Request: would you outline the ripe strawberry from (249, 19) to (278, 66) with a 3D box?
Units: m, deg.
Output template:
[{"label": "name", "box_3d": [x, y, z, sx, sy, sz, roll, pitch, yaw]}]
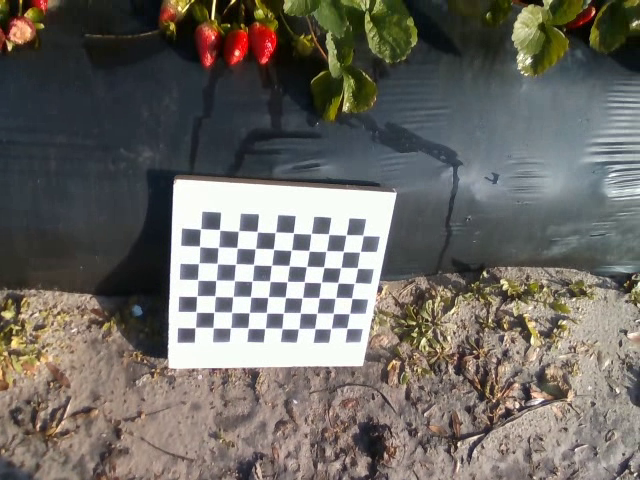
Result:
[{"label": "ripe strawberry", "box_3d": [-0.068, -0.195, 0.633, 0.035, 0.041, 0.034, -2, -29, -8]}]

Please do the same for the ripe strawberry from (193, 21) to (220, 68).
[{"label": "ripe strawberry", "box_3d": [-0.125, -0.197, 0.626, 0.031, 0.046, 0.023, 2, 7, -10]}]

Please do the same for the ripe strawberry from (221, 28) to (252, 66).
[{"label": "ripe strawberry", "box_3d": [-0.095, -0.195, 0.624, 0.030, 0.039, 0.037, 12, -45, -13]}]
